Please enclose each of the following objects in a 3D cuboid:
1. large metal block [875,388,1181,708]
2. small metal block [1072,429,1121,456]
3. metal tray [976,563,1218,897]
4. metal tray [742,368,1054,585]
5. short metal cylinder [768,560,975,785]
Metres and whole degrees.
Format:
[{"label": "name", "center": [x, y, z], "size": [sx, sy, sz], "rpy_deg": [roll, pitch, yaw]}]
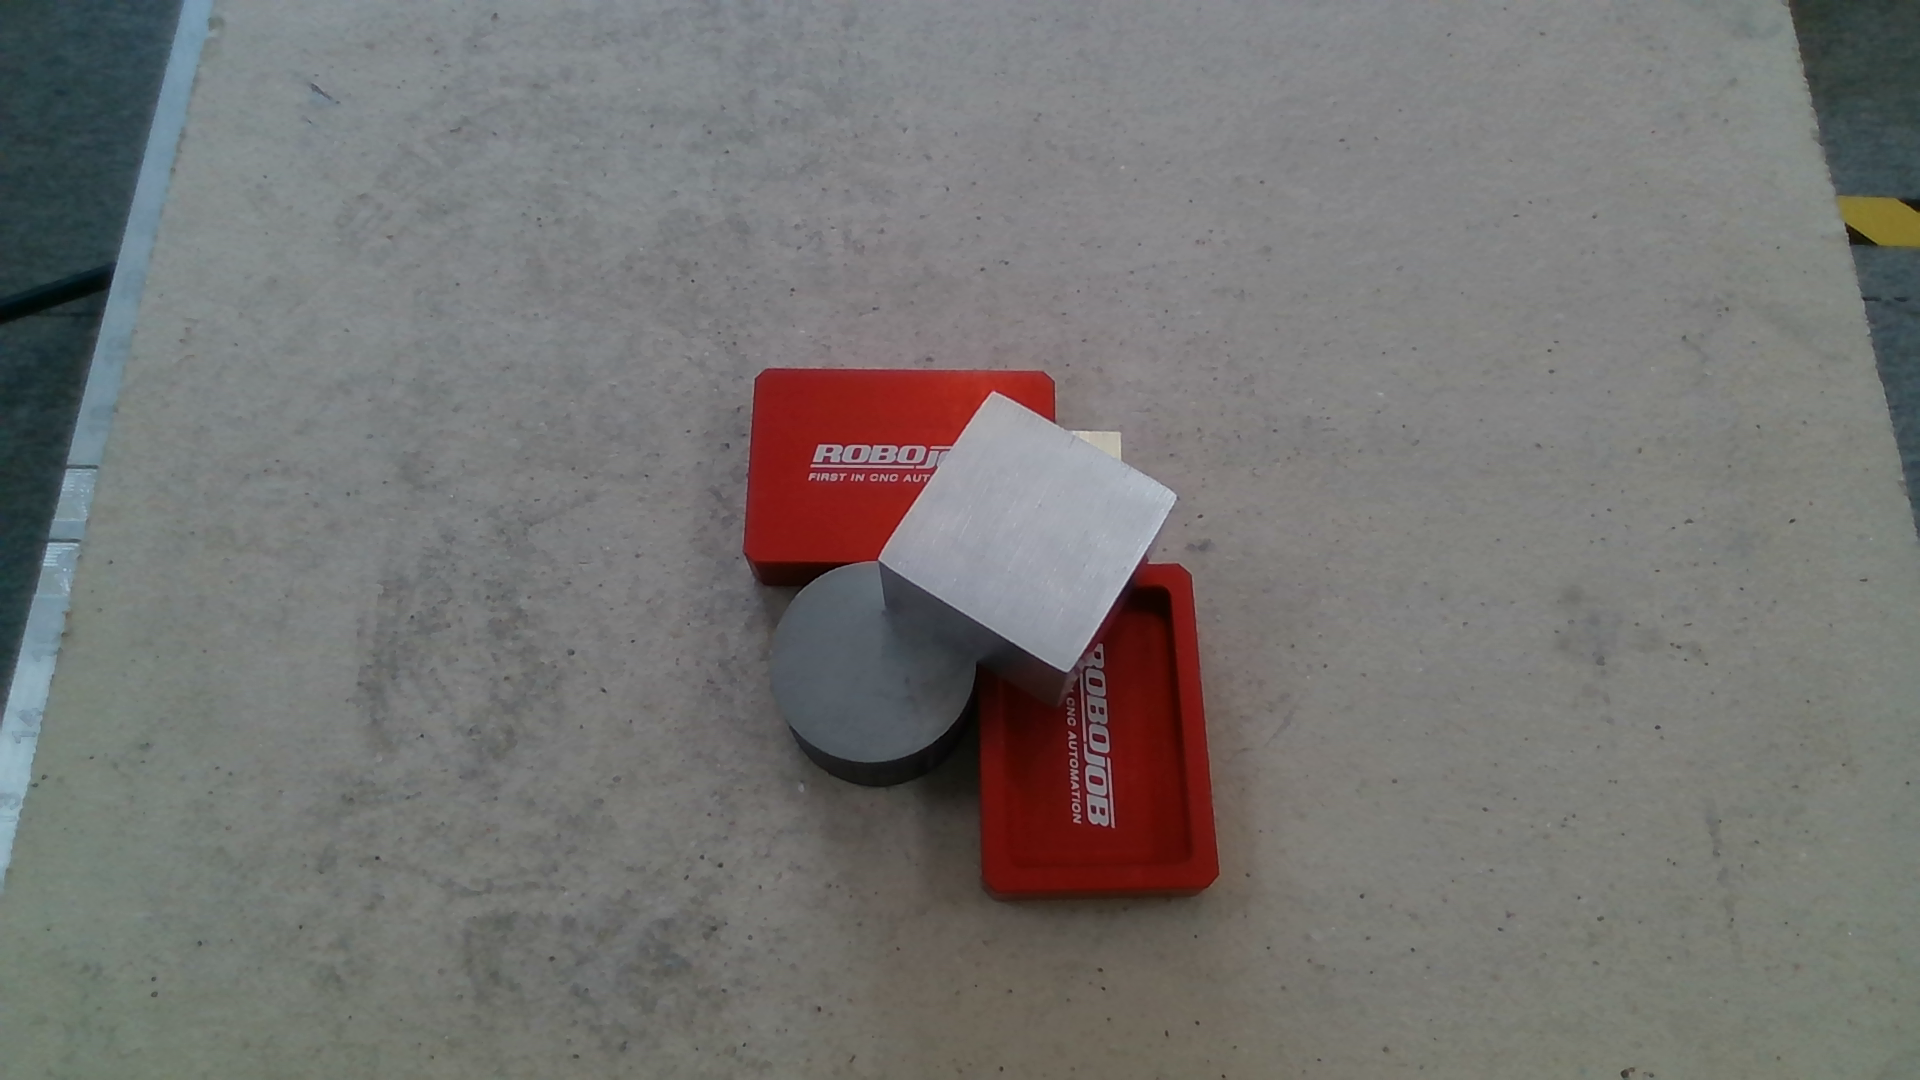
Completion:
[{"label": "large metal block", "center": [0.025, 0.003, 0.519], "size": [0.080, 0.050, 0.080], "rpy_deg": [31, 73, 11]}, {"label": "small metal block", "center": [0.053, -0.013, 0.580], "size": [0.025, 0.050, 0.050], "rpy_deg": [1, 70, 0]}, {"label": "metal tray", "center": [0.052, 0.076, 0.559], "size": [0.090, 0.030, 0.130], "rpy_deg": [-2, 70, -1]}, {"label": "metal tray", "center": [-0.025, -0.027, 0.597], "size": [0.130, 0.030, 0.090], "rpy_deg": [1, 70, 0]}, {"label": "short metal cylinder", "center": [-0.034, 0.054, 0.556], "size": [0.080, 0.050, 0.080], "rpy_deg": [0, 70, 0]}]
